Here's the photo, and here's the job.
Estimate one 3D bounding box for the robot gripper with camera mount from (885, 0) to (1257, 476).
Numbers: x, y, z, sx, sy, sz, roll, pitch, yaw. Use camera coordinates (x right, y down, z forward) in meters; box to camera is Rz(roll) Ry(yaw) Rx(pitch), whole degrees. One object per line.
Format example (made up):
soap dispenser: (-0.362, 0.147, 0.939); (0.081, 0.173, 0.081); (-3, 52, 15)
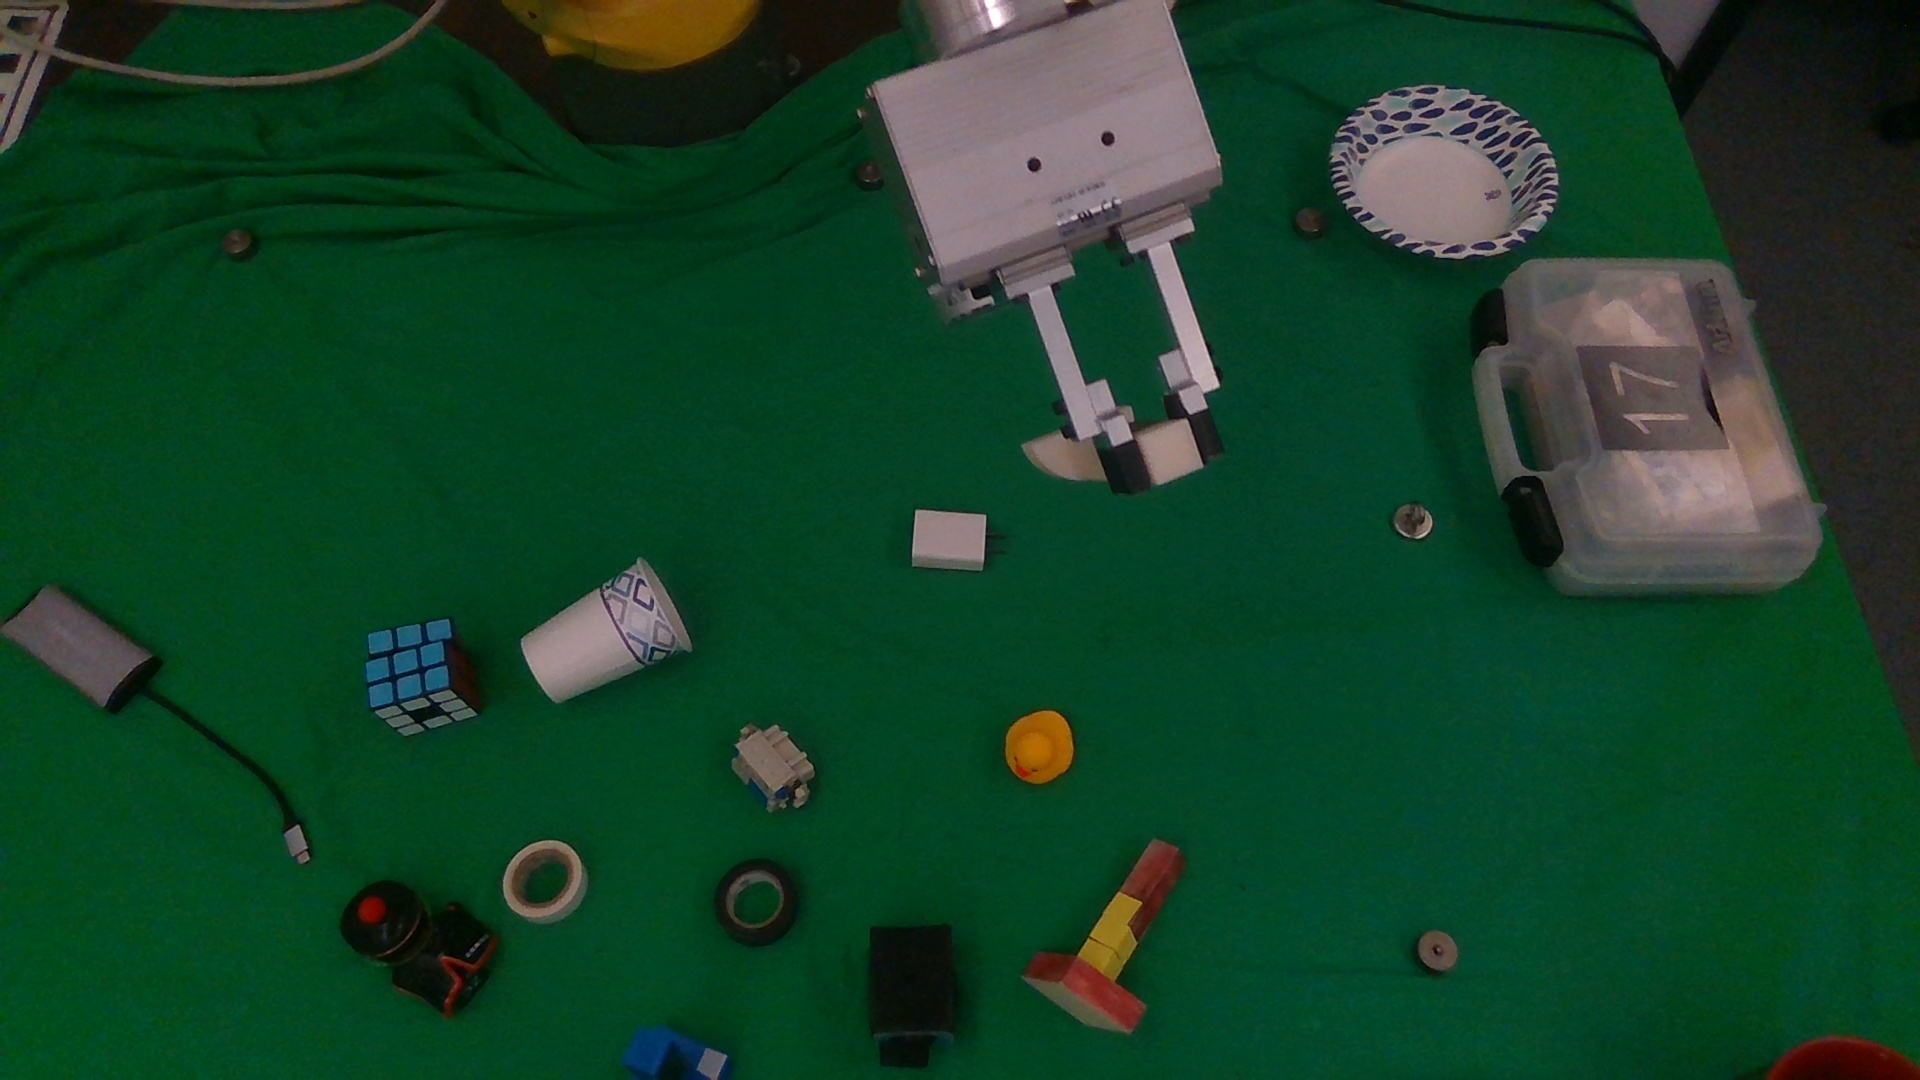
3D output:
robot gripper with camera mount: (0.039, -0.102, 0.588); (0.119, 0.193, 0.158); (-22, 93, -12)

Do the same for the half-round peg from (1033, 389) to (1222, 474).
half-round peg: (0.071, -0.045, 0.565); (0.054, 0.122, 0.031); (-22, 97, -10)
